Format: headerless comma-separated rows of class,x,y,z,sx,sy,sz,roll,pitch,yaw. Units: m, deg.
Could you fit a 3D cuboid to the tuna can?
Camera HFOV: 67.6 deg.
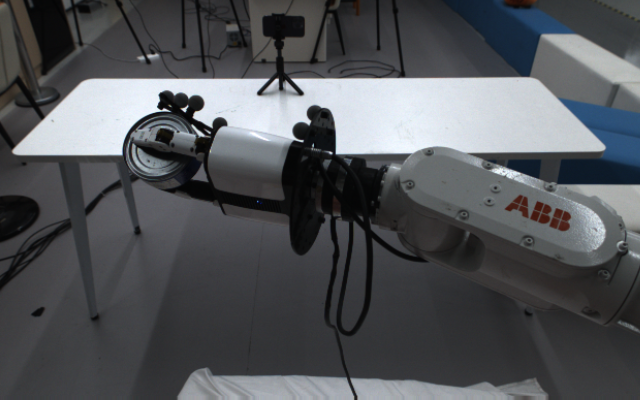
tuna can,-0.179,-0.056,0.562,0.085,0.034,0.085,-2,71,6
